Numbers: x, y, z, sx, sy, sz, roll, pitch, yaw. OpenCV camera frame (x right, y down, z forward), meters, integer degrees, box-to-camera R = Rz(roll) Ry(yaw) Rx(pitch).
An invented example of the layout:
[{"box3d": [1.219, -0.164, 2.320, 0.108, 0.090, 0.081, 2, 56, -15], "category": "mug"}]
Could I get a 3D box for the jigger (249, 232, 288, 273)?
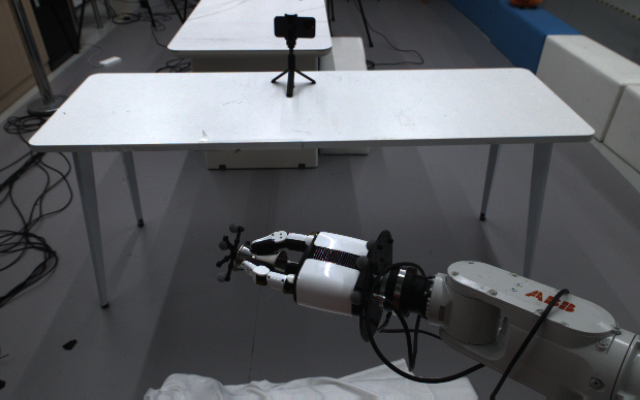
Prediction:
[{"box3d": [-0.088, 0.090, 0.749, 0.071, 0.043, 0.043, 10, 35, 21], "category": "jigger"}]
